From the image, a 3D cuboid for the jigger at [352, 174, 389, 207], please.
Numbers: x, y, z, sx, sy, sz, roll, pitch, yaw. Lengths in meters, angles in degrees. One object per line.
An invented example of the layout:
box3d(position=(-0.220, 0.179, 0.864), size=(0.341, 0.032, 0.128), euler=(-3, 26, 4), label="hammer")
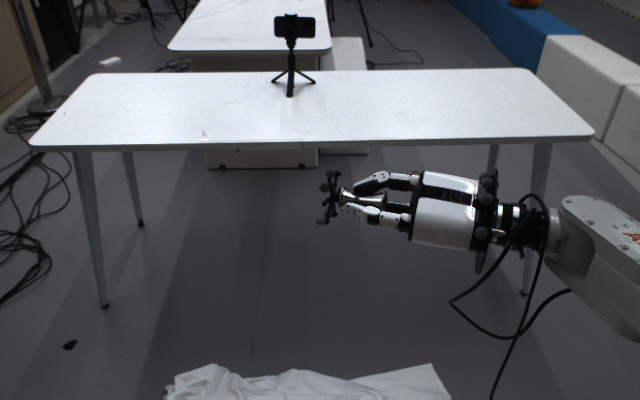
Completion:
box3d(position=(0.073, 0.000, 0.757), size=(0.071, 0.043, 0.043), euler=(9, 35, 17), label="jigger")
